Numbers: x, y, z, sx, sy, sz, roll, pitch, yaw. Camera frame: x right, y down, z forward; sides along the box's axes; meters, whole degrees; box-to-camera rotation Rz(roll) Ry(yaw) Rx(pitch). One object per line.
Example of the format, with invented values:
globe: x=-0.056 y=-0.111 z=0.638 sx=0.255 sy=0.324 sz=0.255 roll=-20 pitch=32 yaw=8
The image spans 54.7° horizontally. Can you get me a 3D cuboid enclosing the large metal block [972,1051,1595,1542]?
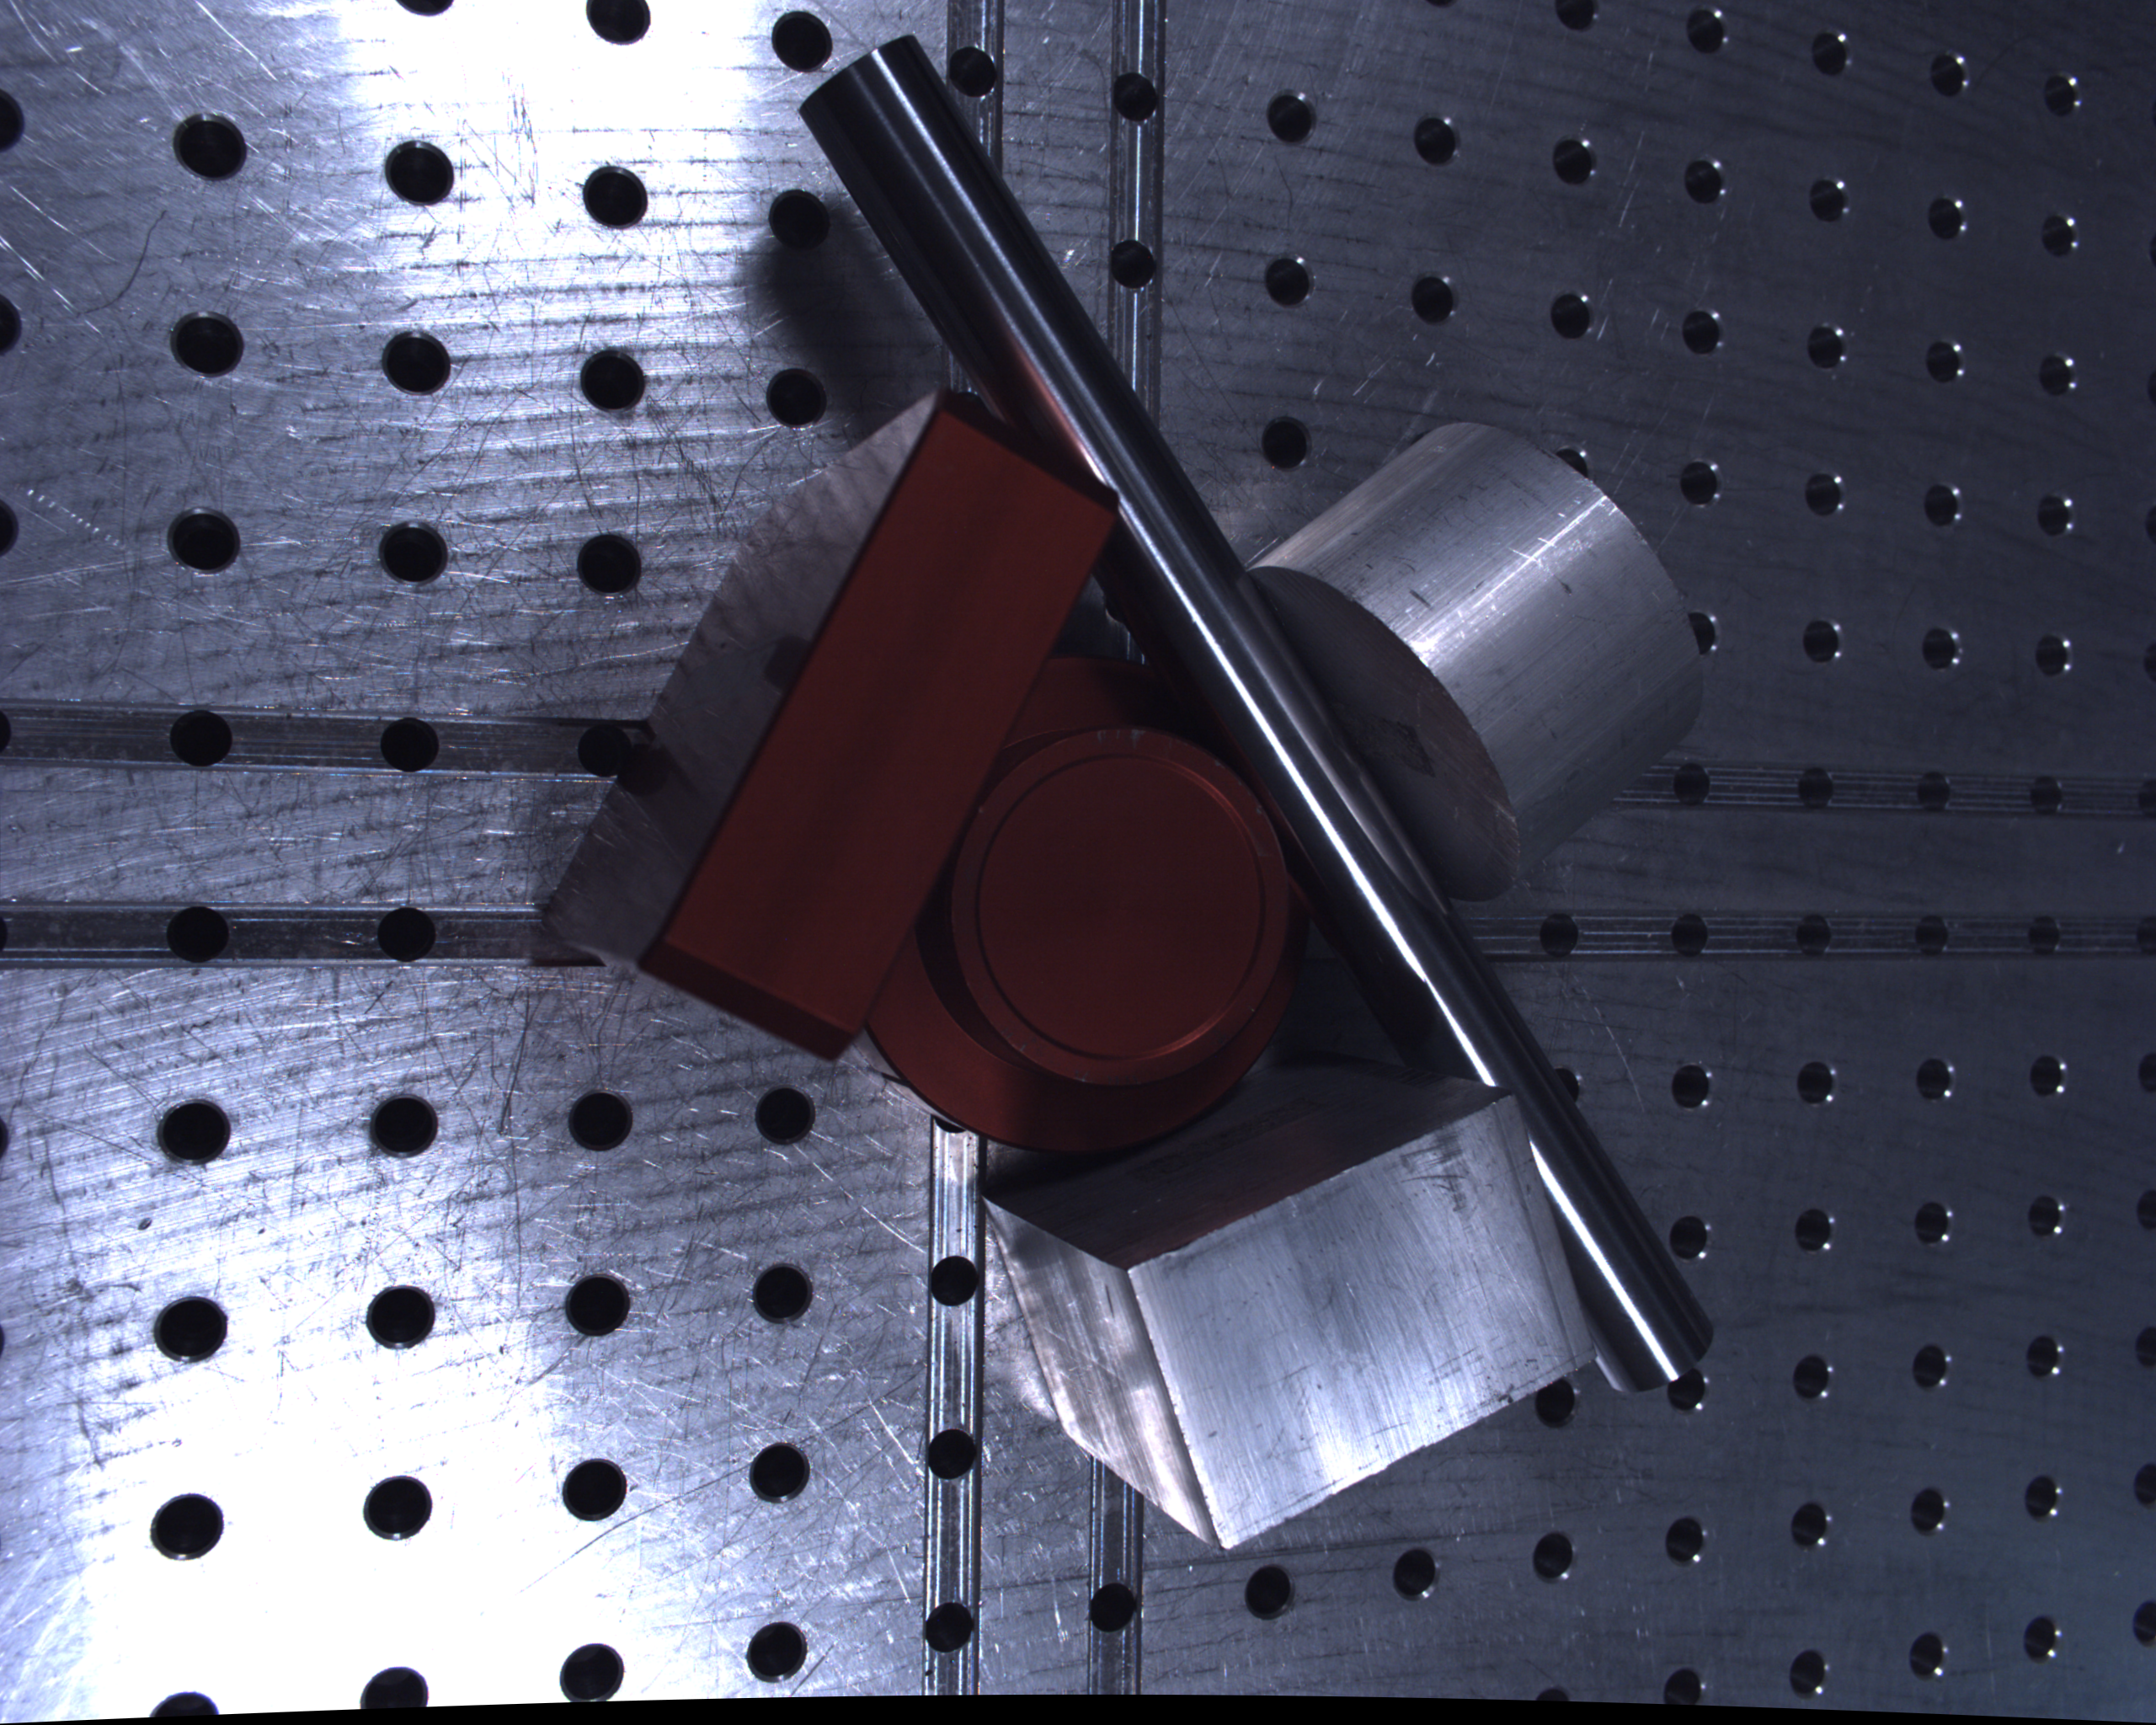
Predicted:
large metal block: x=0.036 y=0.077 z=0.398 sx=0.081 sy=0.080 sz=0.050 roll=-20 pitch=97 yaw=-19

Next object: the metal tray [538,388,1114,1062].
metal tray: x=-0.047 y=-0.020 z=0.340 sx=0.030 sy=0.130 sz=0.090 roll=29 pitch=80 yaw=-18

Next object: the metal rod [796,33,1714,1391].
metal rod: x=0.041 y=-0.020 z=0.406 sx=0.025 sy=0.025 sz=0.299 roll=-37 pitch=102 yaw=-16

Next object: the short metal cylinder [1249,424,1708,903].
short metal cylinder: x=0.075 y=-0.039 z=0.411 sx=0.050 sy=0.080 sz=0.080 roll=-39 pitch=103 yaw=-16

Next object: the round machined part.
round machined part: x=0.001 y=0.009 z=0.405 sx=0.099 sy=0.042 sz=0.097 roll=0 pitch=90 yaw=-21
